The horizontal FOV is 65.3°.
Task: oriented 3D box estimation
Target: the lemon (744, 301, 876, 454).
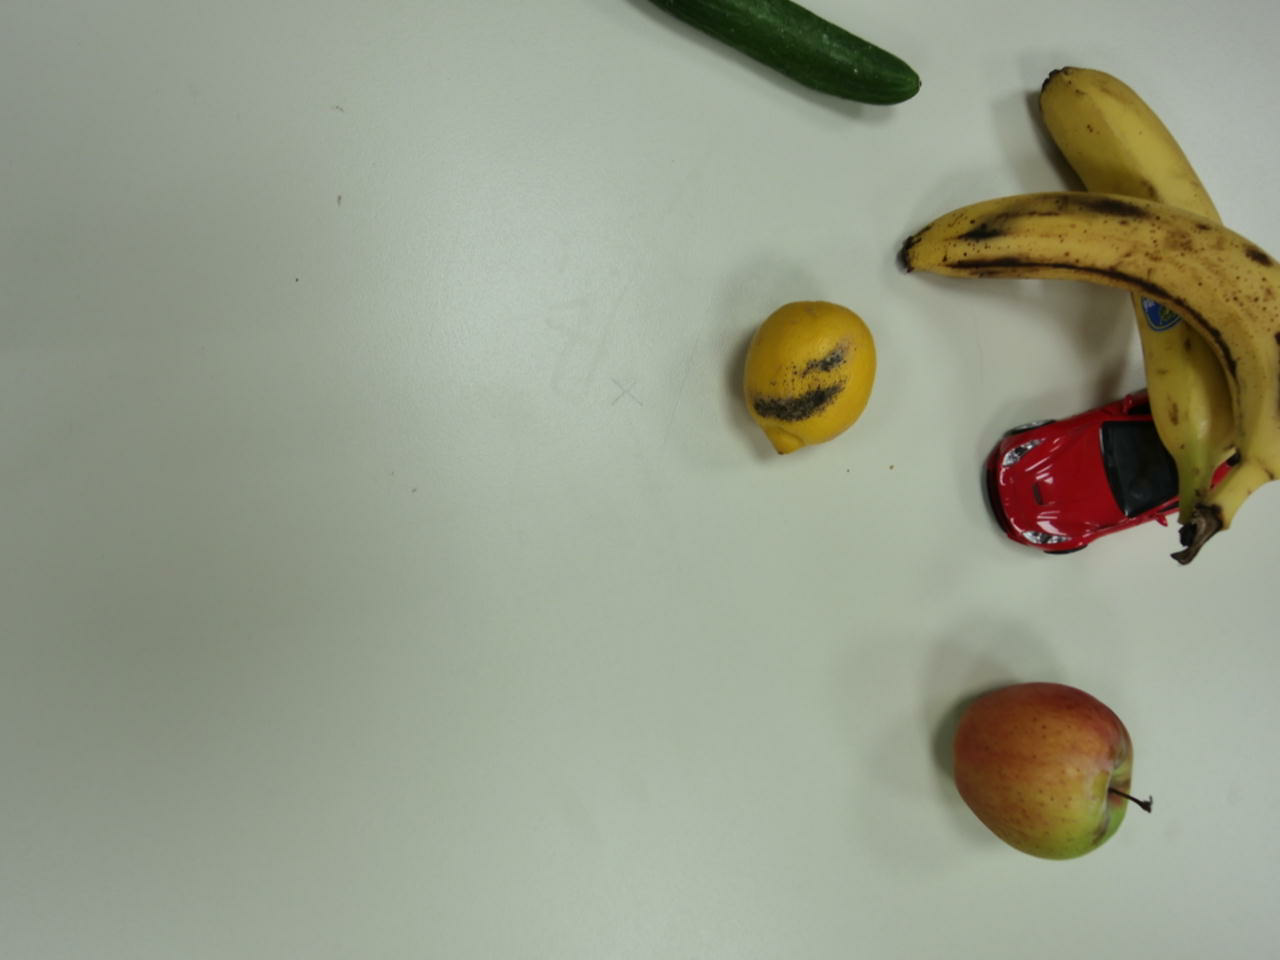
[{"bbox_3d":[0.073,-0.046,0.428,0.058,0.056,0.061,-18,94,-11],"label":"lemon"}]
